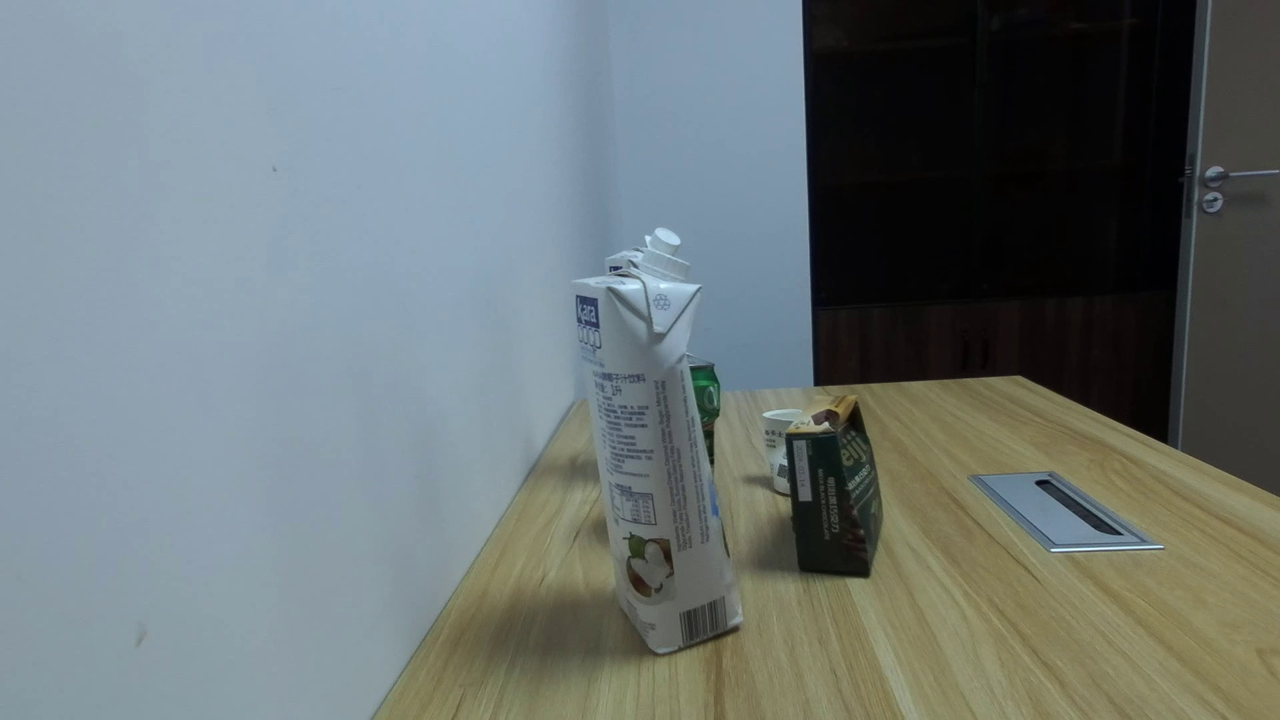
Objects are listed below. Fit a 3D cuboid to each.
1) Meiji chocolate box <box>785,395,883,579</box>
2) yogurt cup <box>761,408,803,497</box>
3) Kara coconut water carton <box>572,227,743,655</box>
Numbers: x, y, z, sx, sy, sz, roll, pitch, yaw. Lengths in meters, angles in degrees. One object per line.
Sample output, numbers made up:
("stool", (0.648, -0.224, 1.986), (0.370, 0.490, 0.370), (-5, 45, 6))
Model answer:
("Meiji chocolate box", (0.150, 0.095, 0.555), (0.058, 0.110, 0.113), (-6, 8, 16))
("yogurt cup", (0.172, 0.097, 0.779), (0.075, 0.071, 0.054), (0, 15, 29))
("Kara coconut water carton", (0.011, 0.054, 0.448), (0.071, 0.244, 0.099), (-11, 16, -20))
